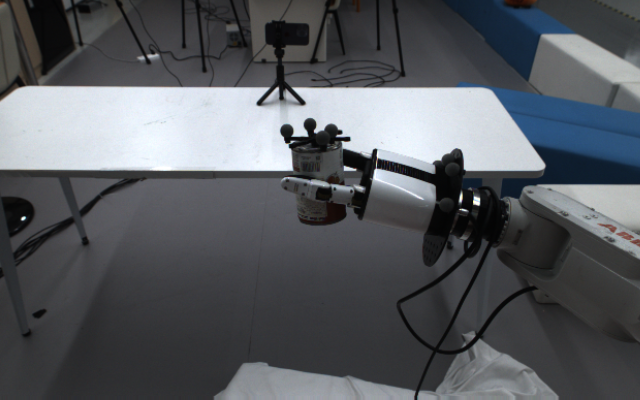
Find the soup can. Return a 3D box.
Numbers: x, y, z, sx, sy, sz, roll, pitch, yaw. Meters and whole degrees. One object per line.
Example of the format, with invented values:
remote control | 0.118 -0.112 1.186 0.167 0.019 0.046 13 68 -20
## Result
soup can | 0.000 -0.026 0.637 0.067 0.101 0.067 -4 21 1
